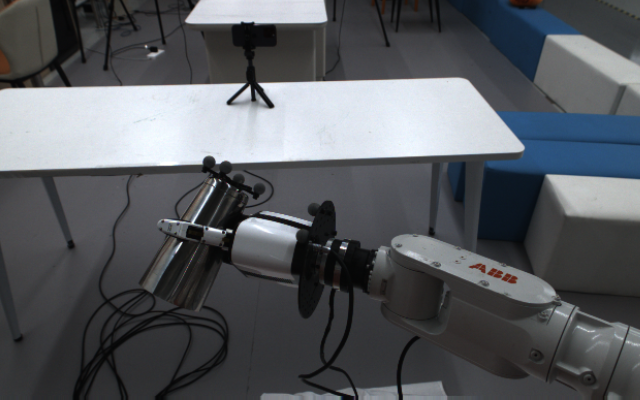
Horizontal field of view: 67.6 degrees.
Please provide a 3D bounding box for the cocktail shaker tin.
[{"bbox_3d":[-0.166,0.055,0.672,0.093,0.093,0.170,21,81,26],"label":"cocktail shaker tin"}]
